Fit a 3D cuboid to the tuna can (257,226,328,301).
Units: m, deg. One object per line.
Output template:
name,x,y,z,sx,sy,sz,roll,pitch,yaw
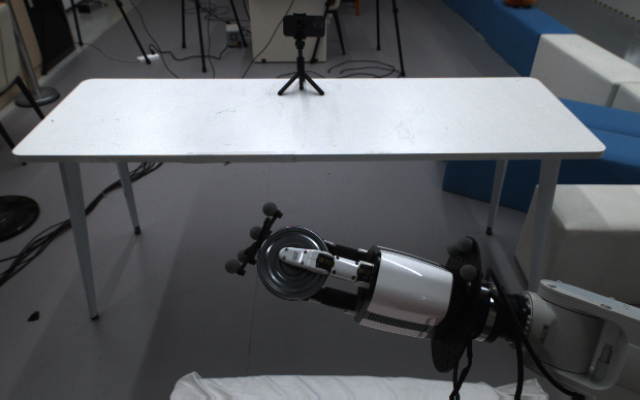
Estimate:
tuna can,-0.027,0.077,0.562,0.085,0.034,0.085,1,76,-5
